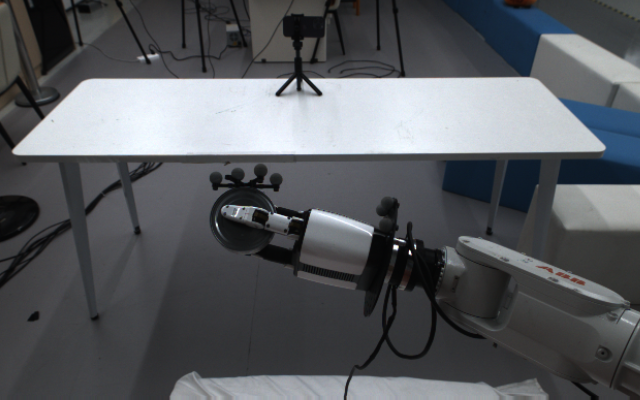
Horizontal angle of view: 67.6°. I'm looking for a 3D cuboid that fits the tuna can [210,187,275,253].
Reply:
[{"bbox_3d":[-0.094,0.027,0.628,0.085,0.034,0.085,1,70,-3],"label":"tuna can"}]
